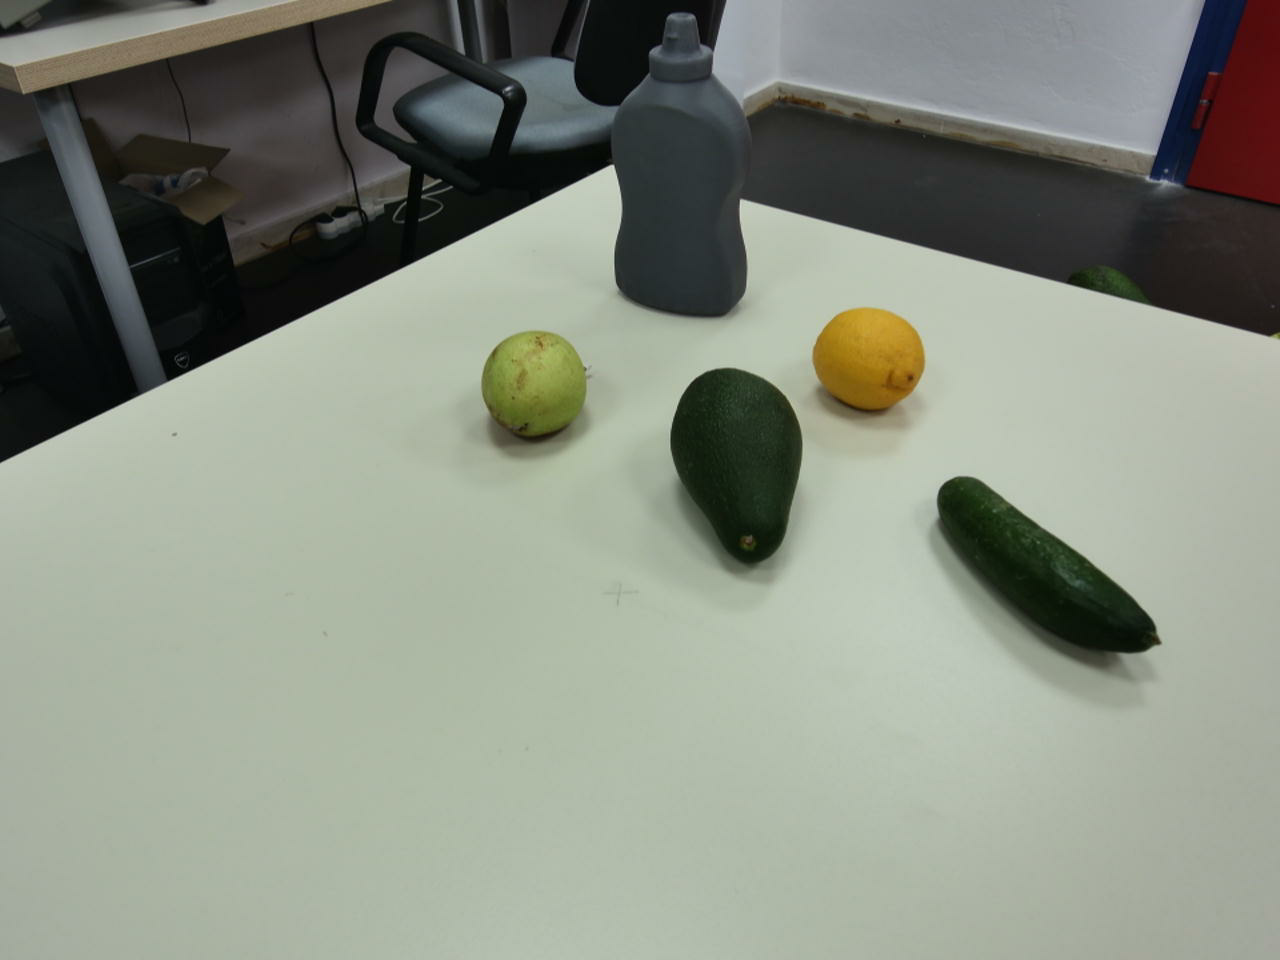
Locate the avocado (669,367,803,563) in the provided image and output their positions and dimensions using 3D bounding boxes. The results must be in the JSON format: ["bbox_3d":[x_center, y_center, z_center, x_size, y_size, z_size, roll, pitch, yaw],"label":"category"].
[{"bbox_3d":[0.048,-0.012,0.525,0.073,0.071,0.109,9,38,12],"label":"avocado"}]
